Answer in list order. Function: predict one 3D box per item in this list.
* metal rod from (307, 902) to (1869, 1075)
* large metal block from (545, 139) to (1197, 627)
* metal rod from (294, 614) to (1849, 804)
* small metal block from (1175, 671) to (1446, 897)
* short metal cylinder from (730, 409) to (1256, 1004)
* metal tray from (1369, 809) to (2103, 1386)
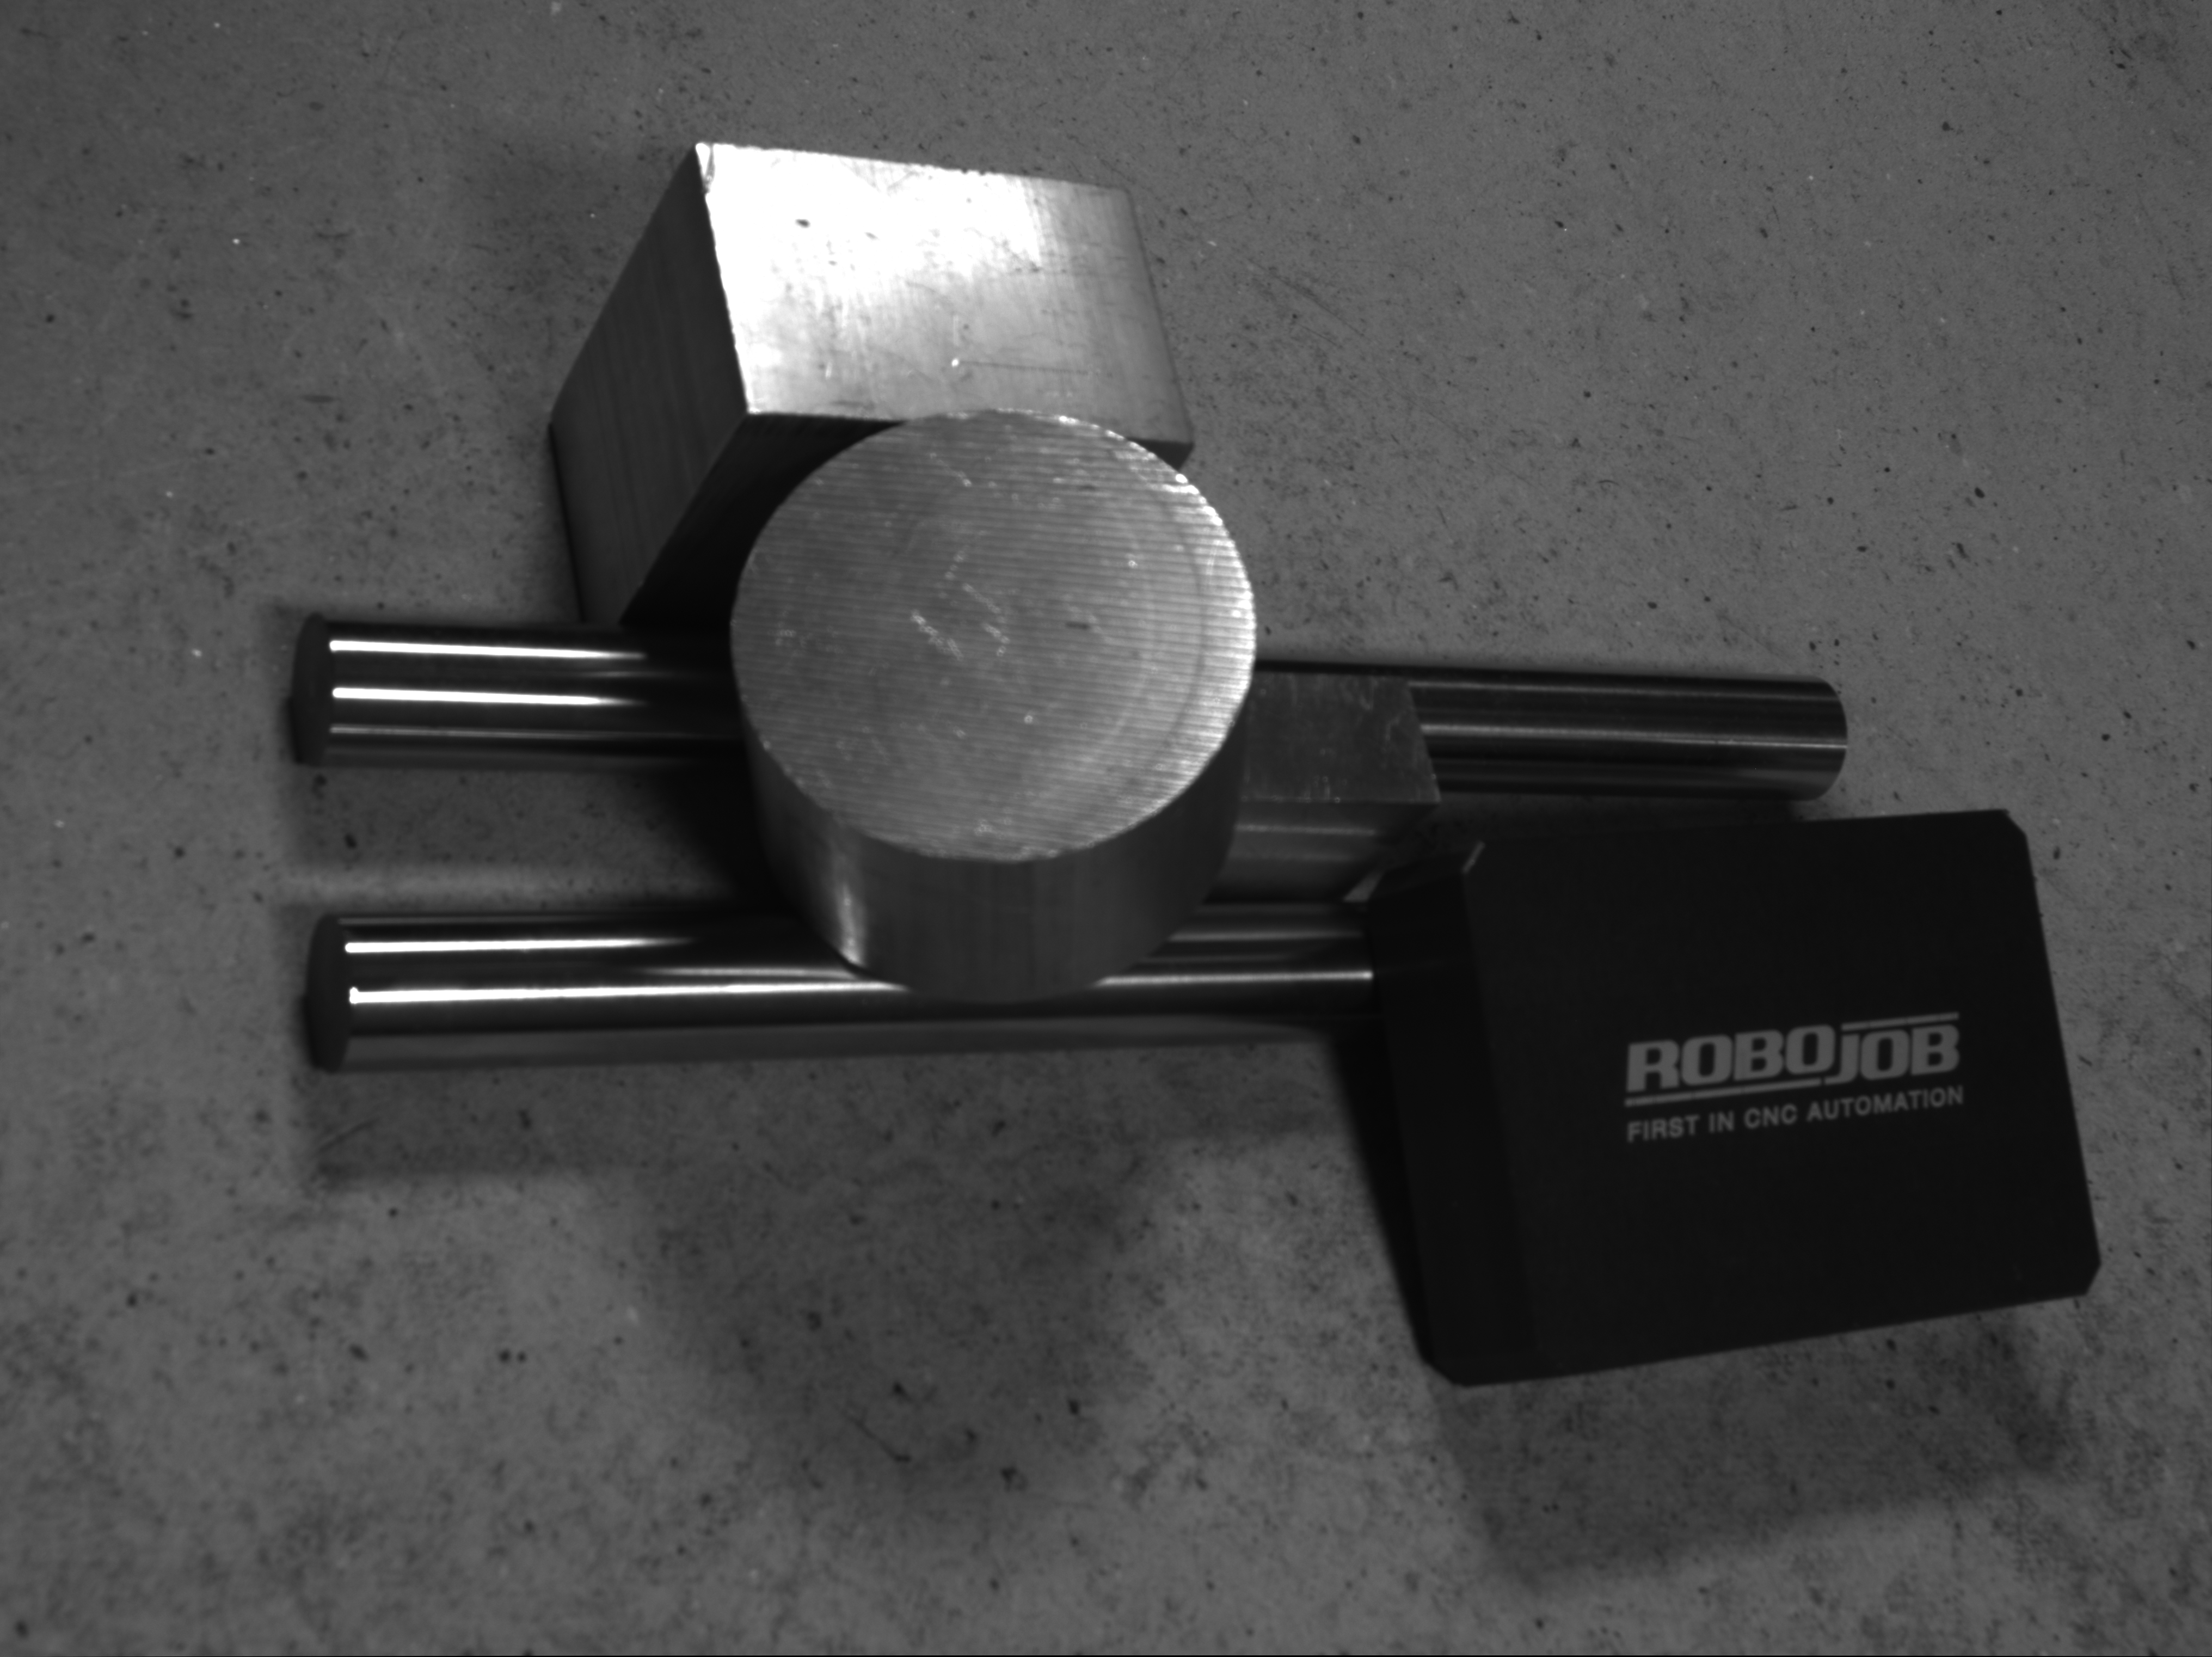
[{"bbox_3d":[0.014,0.025,0.632,0.301,0.025,0.025,0,62,-28],"label":"metal rod"},{"bbox_3d":[-0.042,-0.069,0.625,0.080,0.080,0.050,1,61,-28],"label":"large metal block"},{"bbox_3d":[0.006,-0.020,0.656,0.301,0.025,0.025,1,61,-28],"label":"metal rod"},{"bbox_3d":[0.023,-0.004,0.638,0.050,0.050,0.025,1,61,-28],"label":"small metal block"},{"bbox_3d":[-0.017,-0.019,0.581,0.080,0.050,0.080,0,62,-1],"label":"short metal cylinder"},{"bbox_3d":[0.114,0.046,0.652,0.130,0.030,0.090,-3,81,-31],"label":"metal tray"}]
